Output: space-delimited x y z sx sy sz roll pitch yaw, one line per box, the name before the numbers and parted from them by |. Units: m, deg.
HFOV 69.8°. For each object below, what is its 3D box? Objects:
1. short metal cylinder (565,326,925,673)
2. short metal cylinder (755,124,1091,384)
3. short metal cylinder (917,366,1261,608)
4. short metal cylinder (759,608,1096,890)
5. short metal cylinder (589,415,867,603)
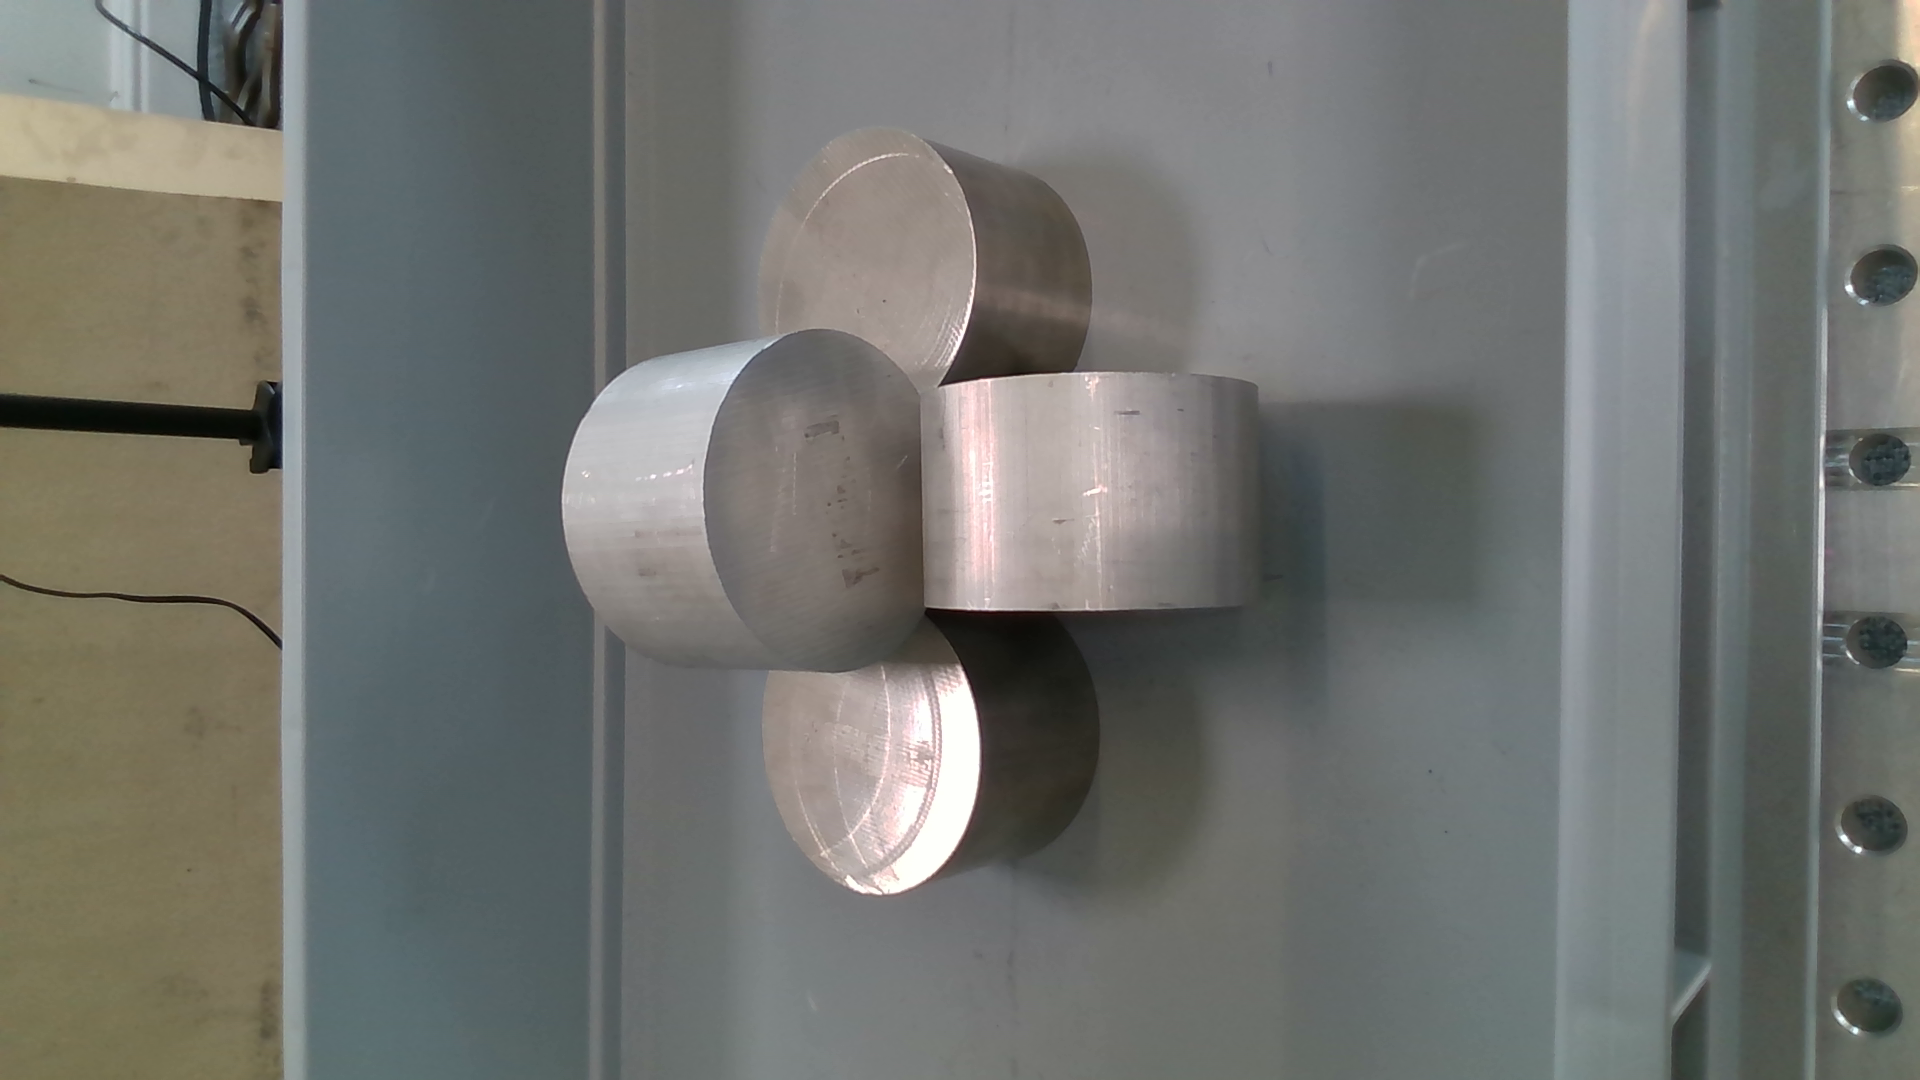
short metal cylinder | -0.047 -0.009 0.335 0.050 0.080 0.080 -1 89 40
short metal cylinder | -0.011 -0.069 0.381 0.080 0.050 0.080 0 91 40
short metal cylinder | 0.030 -0.011 0.327 0.080 0.080 0.050 -3 89 40
short metal cylinder | -0.010 0.052 0.381 0.080 0.050 0.080 0 91 40
short metal cylinder | -0.069 -0.008 0.411 0.080 0.080 0.050 -3 89 40
